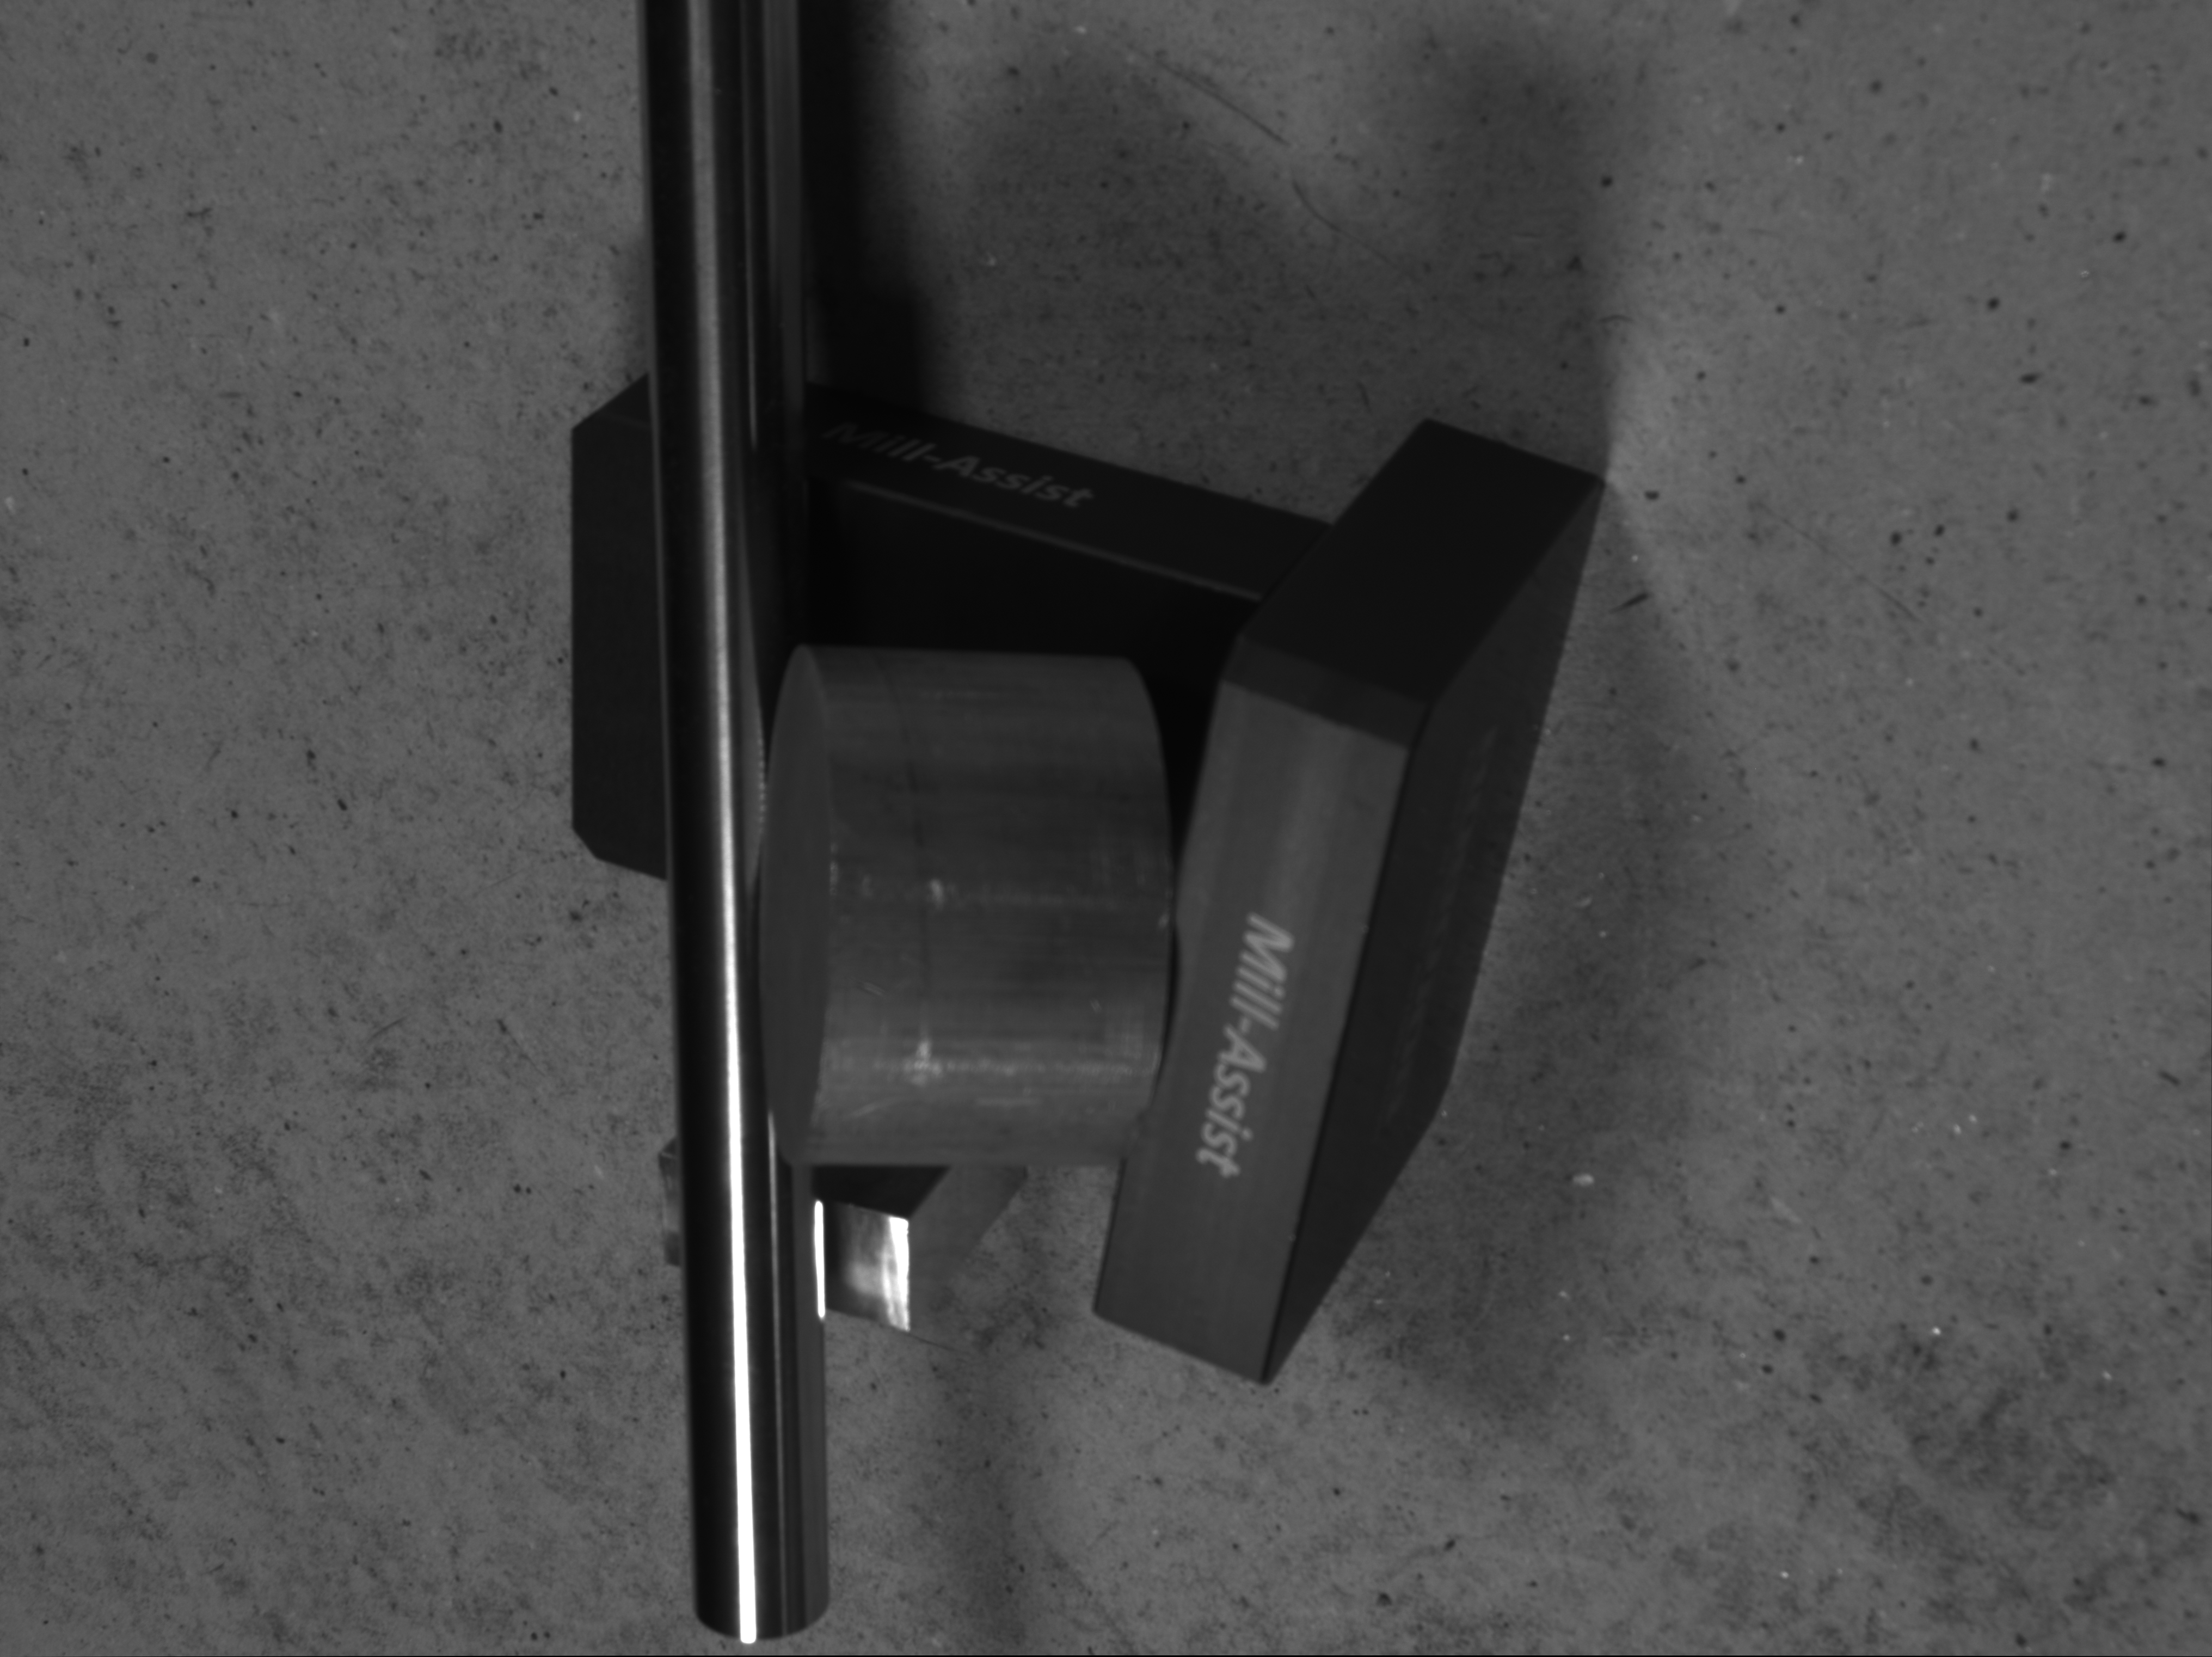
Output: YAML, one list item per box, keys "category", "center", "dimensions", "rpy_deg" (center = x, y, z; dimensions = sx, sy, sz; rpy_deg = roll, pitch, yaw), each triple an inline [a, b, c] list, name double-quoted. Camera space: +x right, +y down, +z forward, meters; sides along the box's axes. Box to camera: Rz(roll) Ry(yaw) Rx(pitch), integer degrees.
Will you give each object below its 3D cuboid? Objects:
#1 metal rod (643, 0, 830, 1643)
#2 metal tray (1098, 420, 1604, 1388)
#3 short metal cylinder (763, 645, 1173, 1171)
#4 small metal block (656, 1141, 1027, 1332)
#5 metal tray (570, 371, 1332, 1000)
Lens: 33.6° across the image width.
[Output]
- category: "metal rod"
  center: [-0.061, 0.002, 0.613]
  dimensions: [0.025, 0.025, 0.300]
  rpy_deg: [10, 113, 21]
- category: "metal tray"
  center: [0.038, 0.012, 0.578]
  dimensions: [0.030, 0.090, 0.130]
  rpy_deg: [20, 126, 15]
- category: "short metal cylinder"
  center: [-0.023, 0.013, 0.569]
  dimensions: [0.050, 0.080, 0.080]
  rpy_deg: [2, 125, -12]
- category: "small metal block"
  center: [-0.048, 0.063, 0.677]
  dimensions: [0.050, 0.050, 0.025]
  rpy_deg: [12, 123, 20]
- category: "metal tray"
  center: [-0.028, -0.022, 0.628]
  dimensions: [0.130, 0.030, 0.090]
  rpy_deg: [17, 125, 17]
